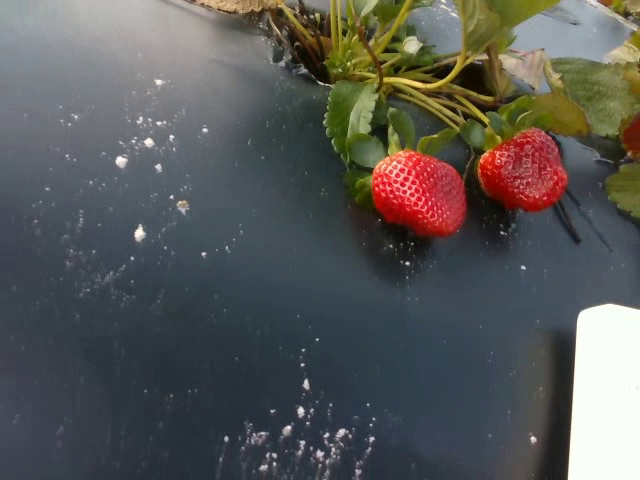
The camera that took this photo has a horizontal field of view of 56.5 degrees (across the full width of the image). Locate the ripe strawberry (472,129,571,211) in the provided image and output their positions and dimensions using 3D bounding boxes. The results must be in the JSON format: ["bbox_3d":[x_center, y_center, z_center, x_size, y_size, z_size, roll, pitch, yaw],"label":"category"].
[{"bbox_3d":[0.106,-0.037,0.304,0.042,0.034,0.053,-4,41,-11],"label":"ripe strawberry"}]

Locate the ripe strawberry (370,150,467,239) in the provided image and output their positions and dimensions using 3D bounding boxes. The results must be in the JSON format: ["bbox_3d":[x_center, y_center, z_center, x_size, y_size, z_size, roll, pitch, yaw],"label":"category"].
[{"bbox_3d":[0.049,-0.020,0.276,0.050,0.045,0.061,1,37,-10],"label":"ripe strawberry"}]
